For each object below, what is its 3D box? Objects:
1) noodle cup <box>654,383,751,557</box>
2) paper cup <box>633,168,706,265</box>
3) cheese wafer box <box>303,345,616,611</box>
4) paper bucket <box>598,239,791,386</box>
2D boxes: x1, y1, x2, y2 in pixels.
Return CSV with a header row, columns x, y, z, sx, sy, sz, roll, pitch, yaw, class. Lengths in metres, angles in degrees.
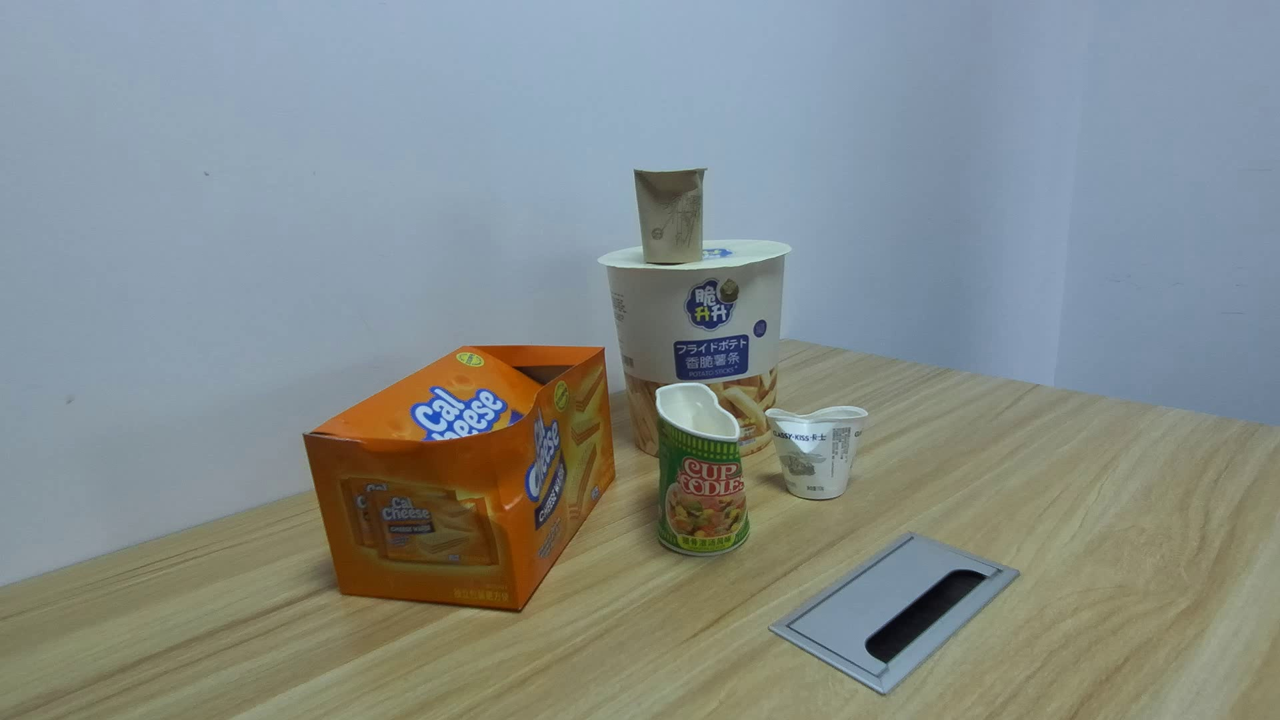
x,y,z,sx,sy,sz,roll,pitch,yaw,class
0.045,0.082,0.532,0.070,0.111,0.115,-2,17,13,noodle cup
0.032,-0.131,0.642,0.066,0.084,0.072,0,11,20,paper cup
-0.122,0.081,0.565,0.152,0.132,0.231,2,16,15,cheese wafer box
0.060,-0.014,0.718,0.198,0.194,0.198,-4,17,1,paper bucket
